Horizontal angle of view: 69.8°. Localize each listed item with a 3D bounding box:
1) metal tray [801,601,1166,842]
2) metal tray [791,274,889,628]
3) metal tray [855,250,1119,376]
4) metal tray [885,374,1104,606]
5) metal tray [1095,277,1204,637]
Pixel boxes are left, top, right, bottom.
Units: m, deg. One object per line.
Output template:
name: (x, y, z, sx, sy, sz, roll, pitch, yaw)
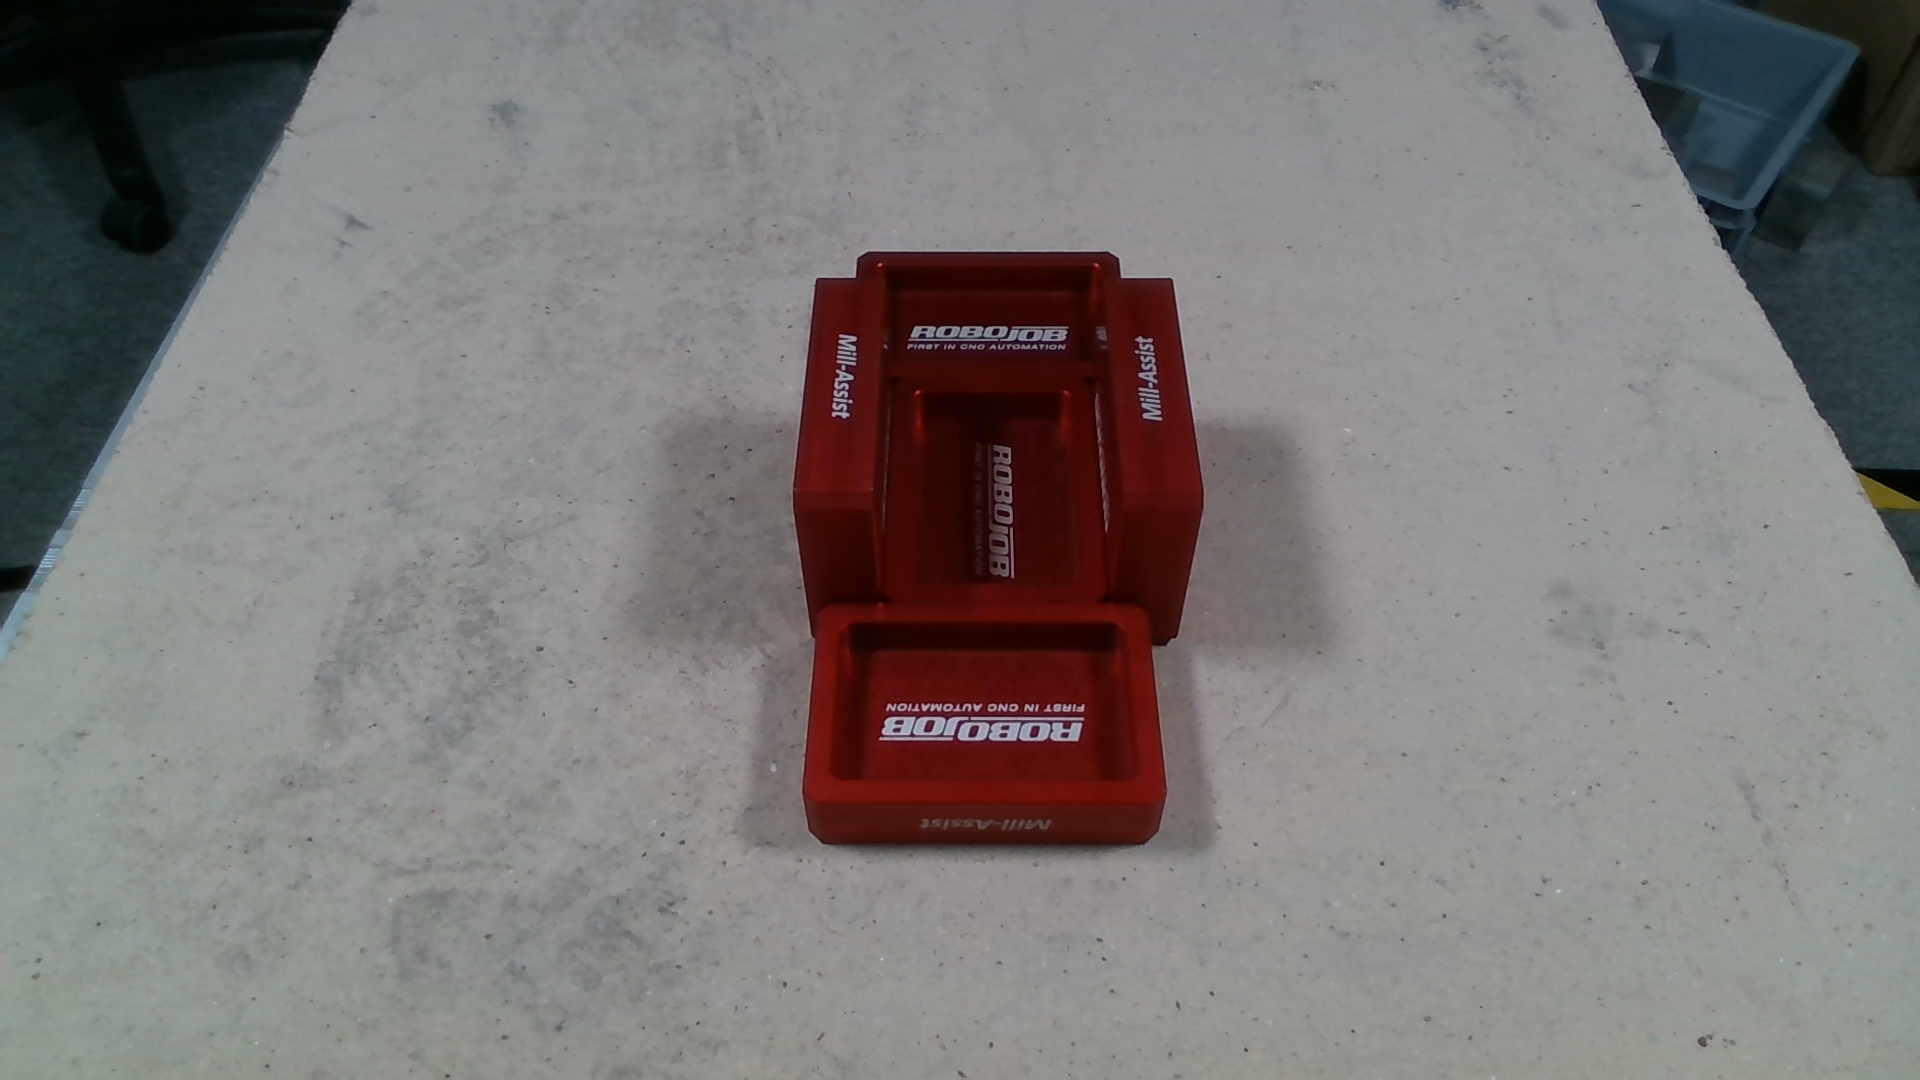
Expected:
metal tray: (0.009, 0.068, 0.527, 0.130, 0.030, 0.090, 0, 50, 0)
metal tray: (-0.046, -0.037, 0.574, 0.030, 0.090, 0.130, 0, 50, 0)
metal tray: (0.013, -0.101, 0.668, 0.130, 0.030, 0.090, 0, 50, 0)
metal tray: (0.014, -0.017, 0.598, 0.090, 0.030, 0.130, 0, 50, 0)
metal tray: (0.074, -0.036, 0.575, 0.030, 0.090, 0.130, 0, 50, 0)
